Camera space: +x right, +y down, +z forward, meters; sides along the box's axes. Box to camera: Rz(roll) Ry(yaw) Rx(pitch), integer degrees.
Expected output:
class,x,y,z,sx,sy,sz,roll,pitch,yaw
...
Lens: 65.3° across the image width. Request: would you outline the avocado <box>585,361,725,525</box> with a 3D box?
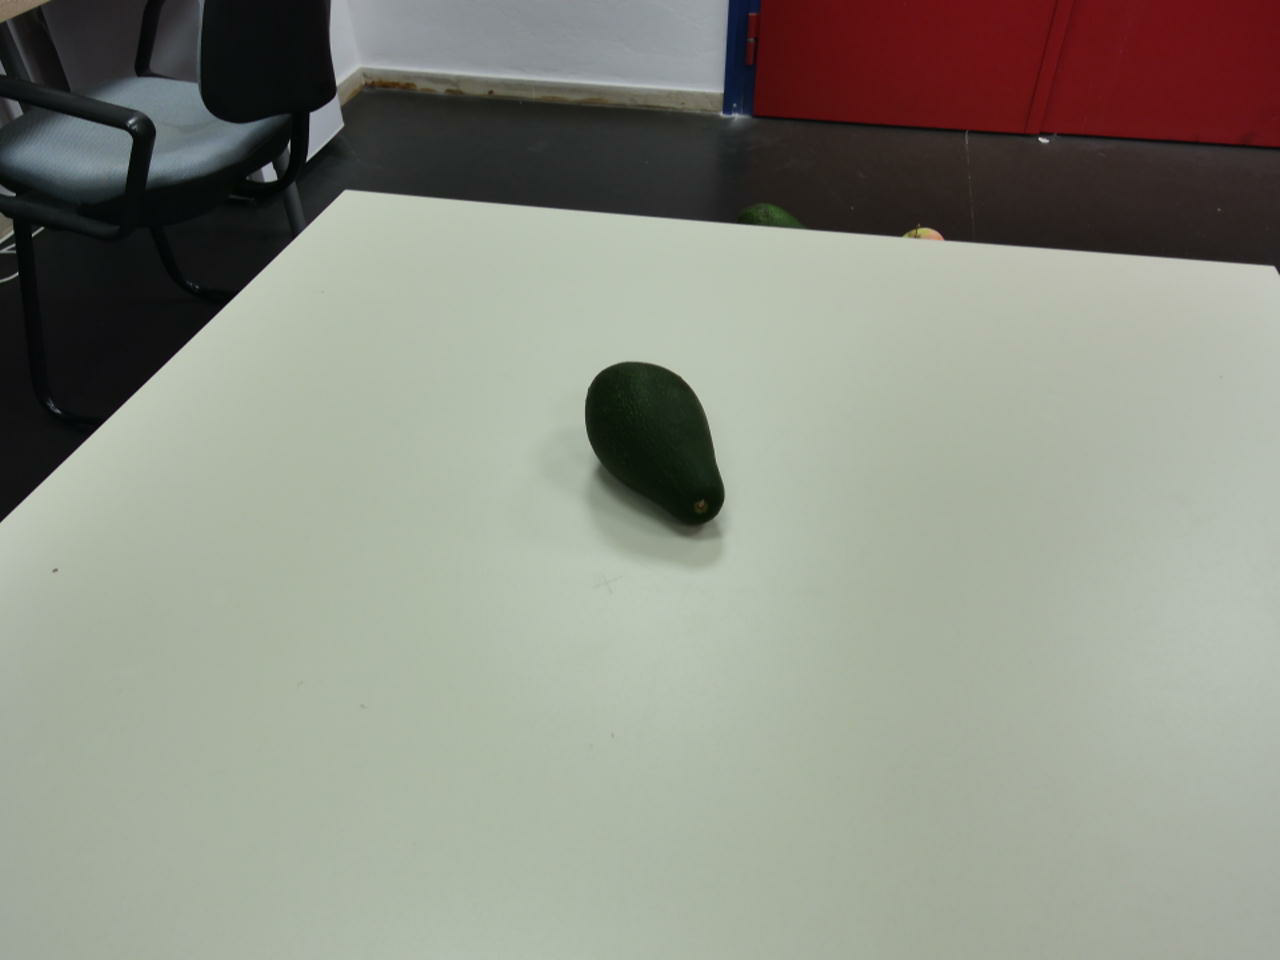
class,x,y,z,sx,sy,sz,roll,pitch,yaw
avocado,0.006,-0.025,0.589,0.072,0.071,0.109,-7,39,-8
